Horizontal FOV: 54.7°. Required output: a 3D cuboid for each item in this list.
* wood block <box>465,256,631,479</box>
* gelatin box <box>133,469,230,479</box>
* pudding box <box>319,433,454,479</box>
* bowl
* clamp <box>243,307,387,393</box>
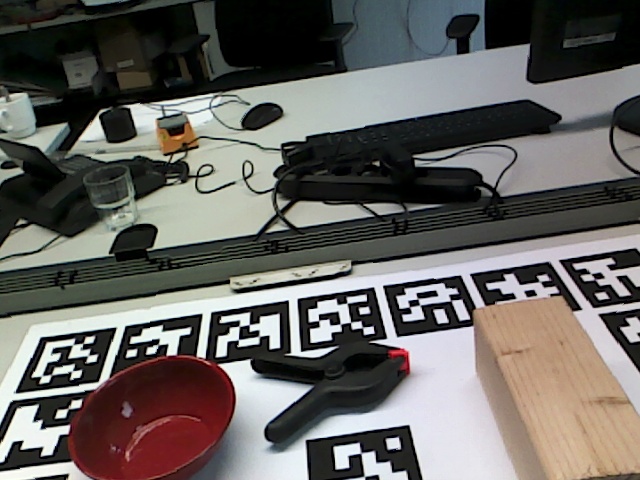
[{"bbox_3d":[0.206,0.111,0.595,0.090,0.090,0.207,-6,31,3],"label":"wood block"},{"bbox_3d":[-0.127,0.237,0.533,0.089,0.030,0.073,-4,33,9],"label":"gelatin box"},{"bbox_3d":[0.058,0.215,0.514,0.114,0.038,0.090,-10,35,3],"label":"pudding box"},{"bbox_3d":[-0.160,0.149,0.679,0.162,0.055,0.162,-6,34,3],"label":"bowl"},{"bbox_3d":[-0.001,0.114,0.715,0.165,0.036,0.122,-12,31,-8],"label":"clamp"}]
